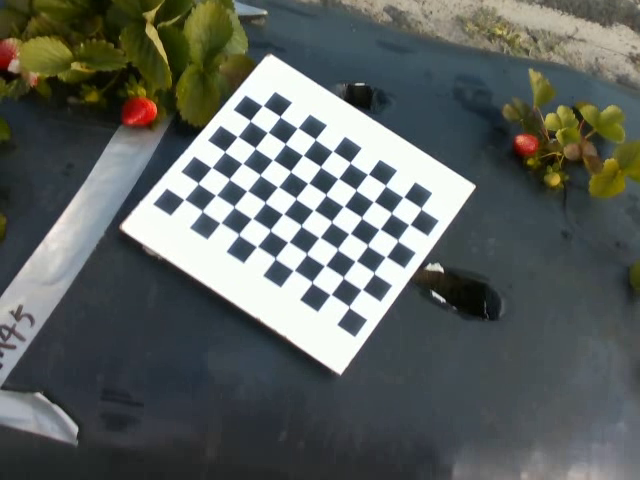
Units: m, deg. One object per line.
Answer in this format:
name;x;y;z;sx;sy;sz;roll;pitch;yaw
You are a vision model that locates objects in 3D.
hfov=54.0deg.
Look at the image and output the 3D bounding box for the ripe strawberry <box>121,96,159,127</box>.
ripe strawberry;-0.189;-0.131;0.645;0.050;0.055;0.036;30;-36;-3
